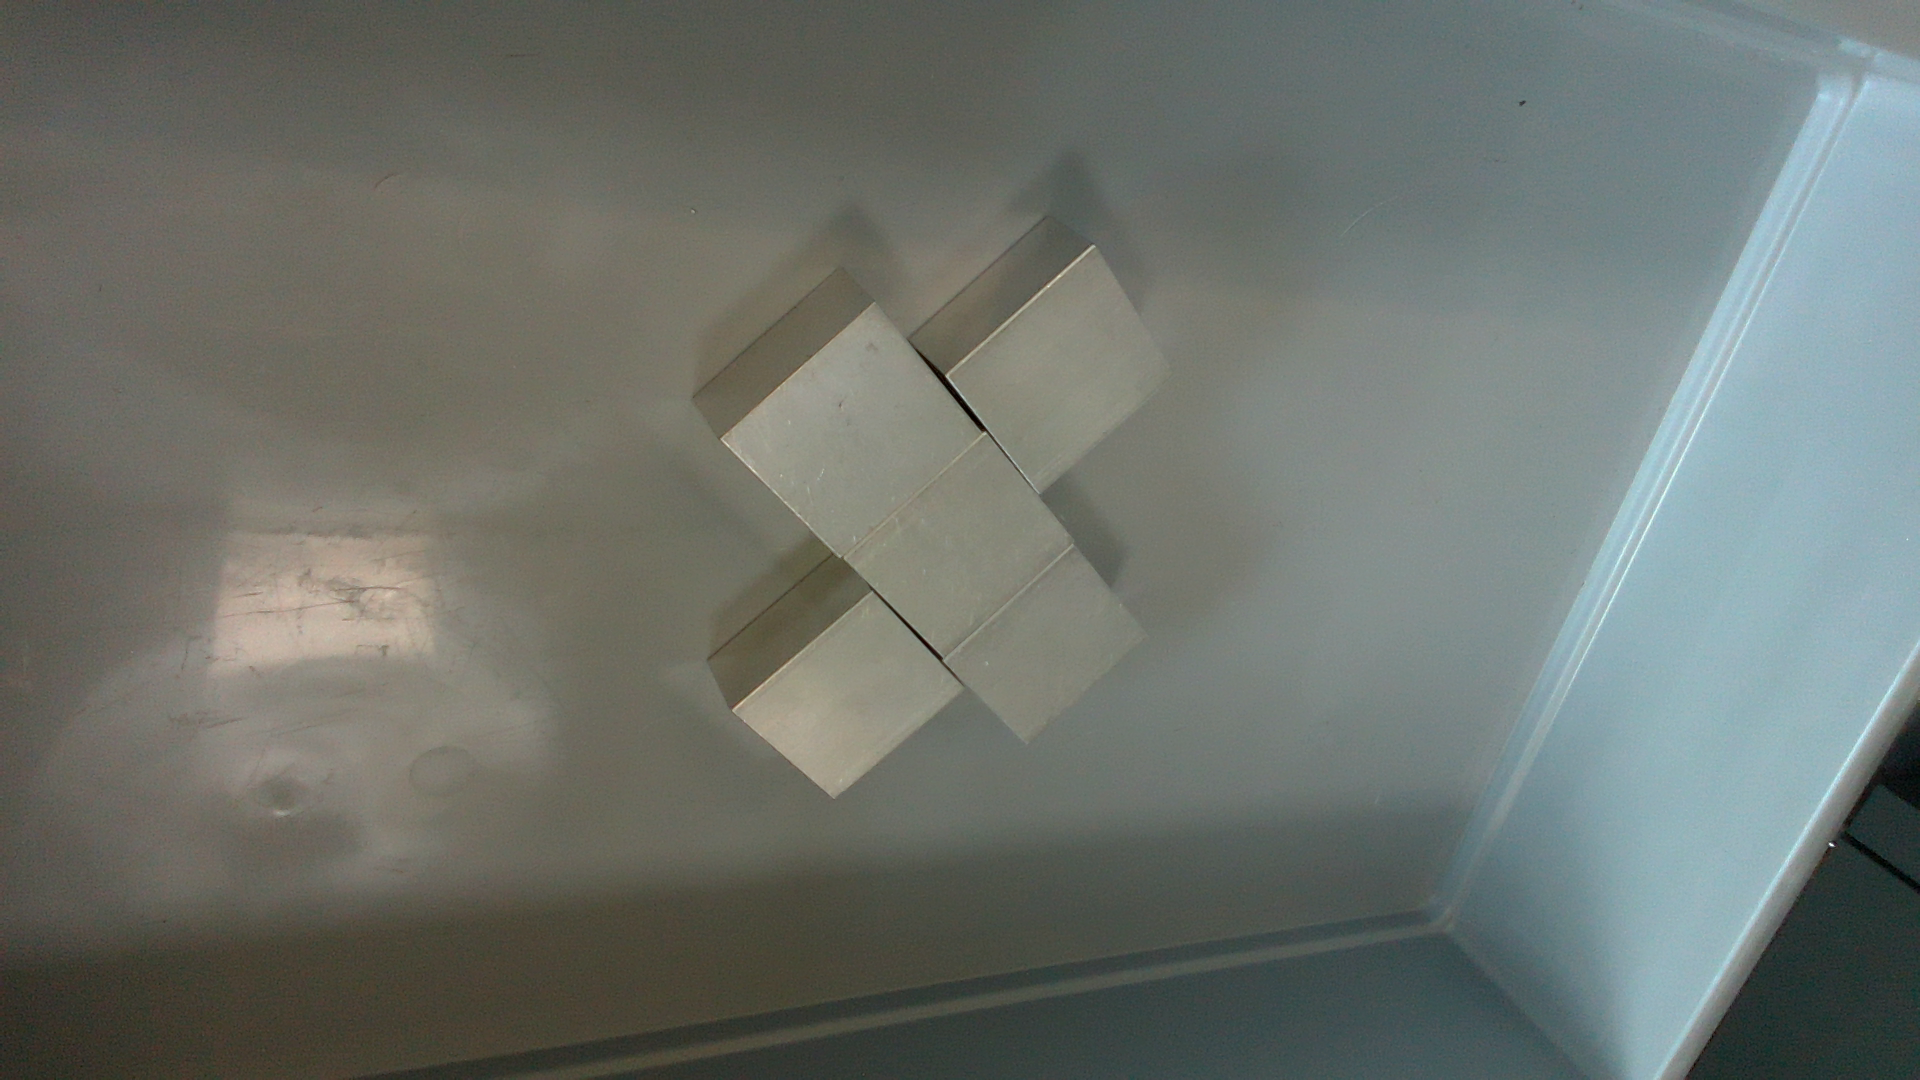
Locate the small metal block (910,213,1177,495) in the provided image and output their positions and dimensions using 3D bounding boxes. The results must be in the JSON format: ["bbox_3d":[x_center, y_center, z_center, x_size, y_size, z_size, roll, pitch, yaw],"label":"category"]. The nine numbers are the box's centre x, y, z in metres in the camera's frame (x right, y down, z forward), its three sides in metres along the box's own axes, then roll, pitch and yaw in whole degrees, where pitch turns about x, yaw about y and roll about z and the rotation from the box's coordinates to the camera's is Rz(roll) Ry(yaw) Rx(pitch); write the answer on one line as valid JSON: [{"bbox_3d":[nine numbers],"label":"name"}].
[{"bbox_3d":[0.022,-0.049,0.369,0.050,0.025,0.050,-42,129,-1],"label":"small metal block"}]

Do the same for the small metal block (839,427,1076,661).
[{"bbox_3d":[-0.004,-0.003,0.382,0.050,0.025,0.050,-42,129,0],"label":"small metal block"}]

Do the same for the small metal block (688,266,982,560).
[{"bbox_3d":[-0.031,-0.032,0.351,0.050,0.025,0.050,-42,129,0],"label":"small metal block"}]

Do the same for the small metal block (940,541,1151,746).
[{"bbox_3d":[0.022,0.026,0.414,0.050,0.025,0.050,-42,129,0],"label":"small metal block"}]

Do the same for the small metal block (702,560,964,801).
[{"bbox_3d":[-0.036,0.039,0.392,0.050,0.025,0.050,-40,129,0],"label":"small metal block"}]
